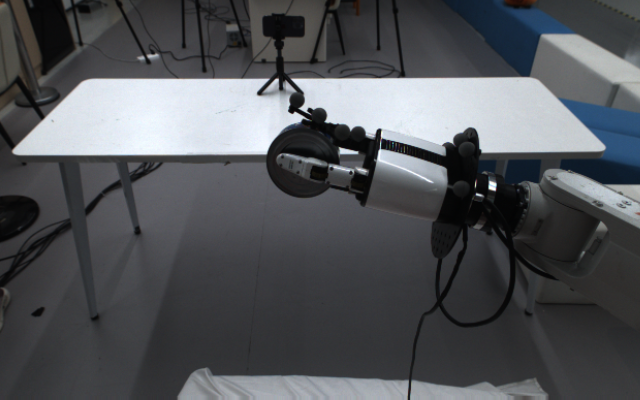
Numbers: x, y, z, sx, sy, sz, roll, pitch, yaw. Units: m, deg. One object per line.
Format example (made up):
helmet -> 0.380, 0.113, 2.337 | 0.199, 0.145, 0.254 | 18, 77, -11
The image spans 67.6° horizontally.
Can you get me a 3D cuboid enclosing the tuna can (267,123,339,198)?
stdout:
tuna can -> -0.018, -0.048, 0.577 | 0.085, 0.085, 0.034 | 4, 20, 3
